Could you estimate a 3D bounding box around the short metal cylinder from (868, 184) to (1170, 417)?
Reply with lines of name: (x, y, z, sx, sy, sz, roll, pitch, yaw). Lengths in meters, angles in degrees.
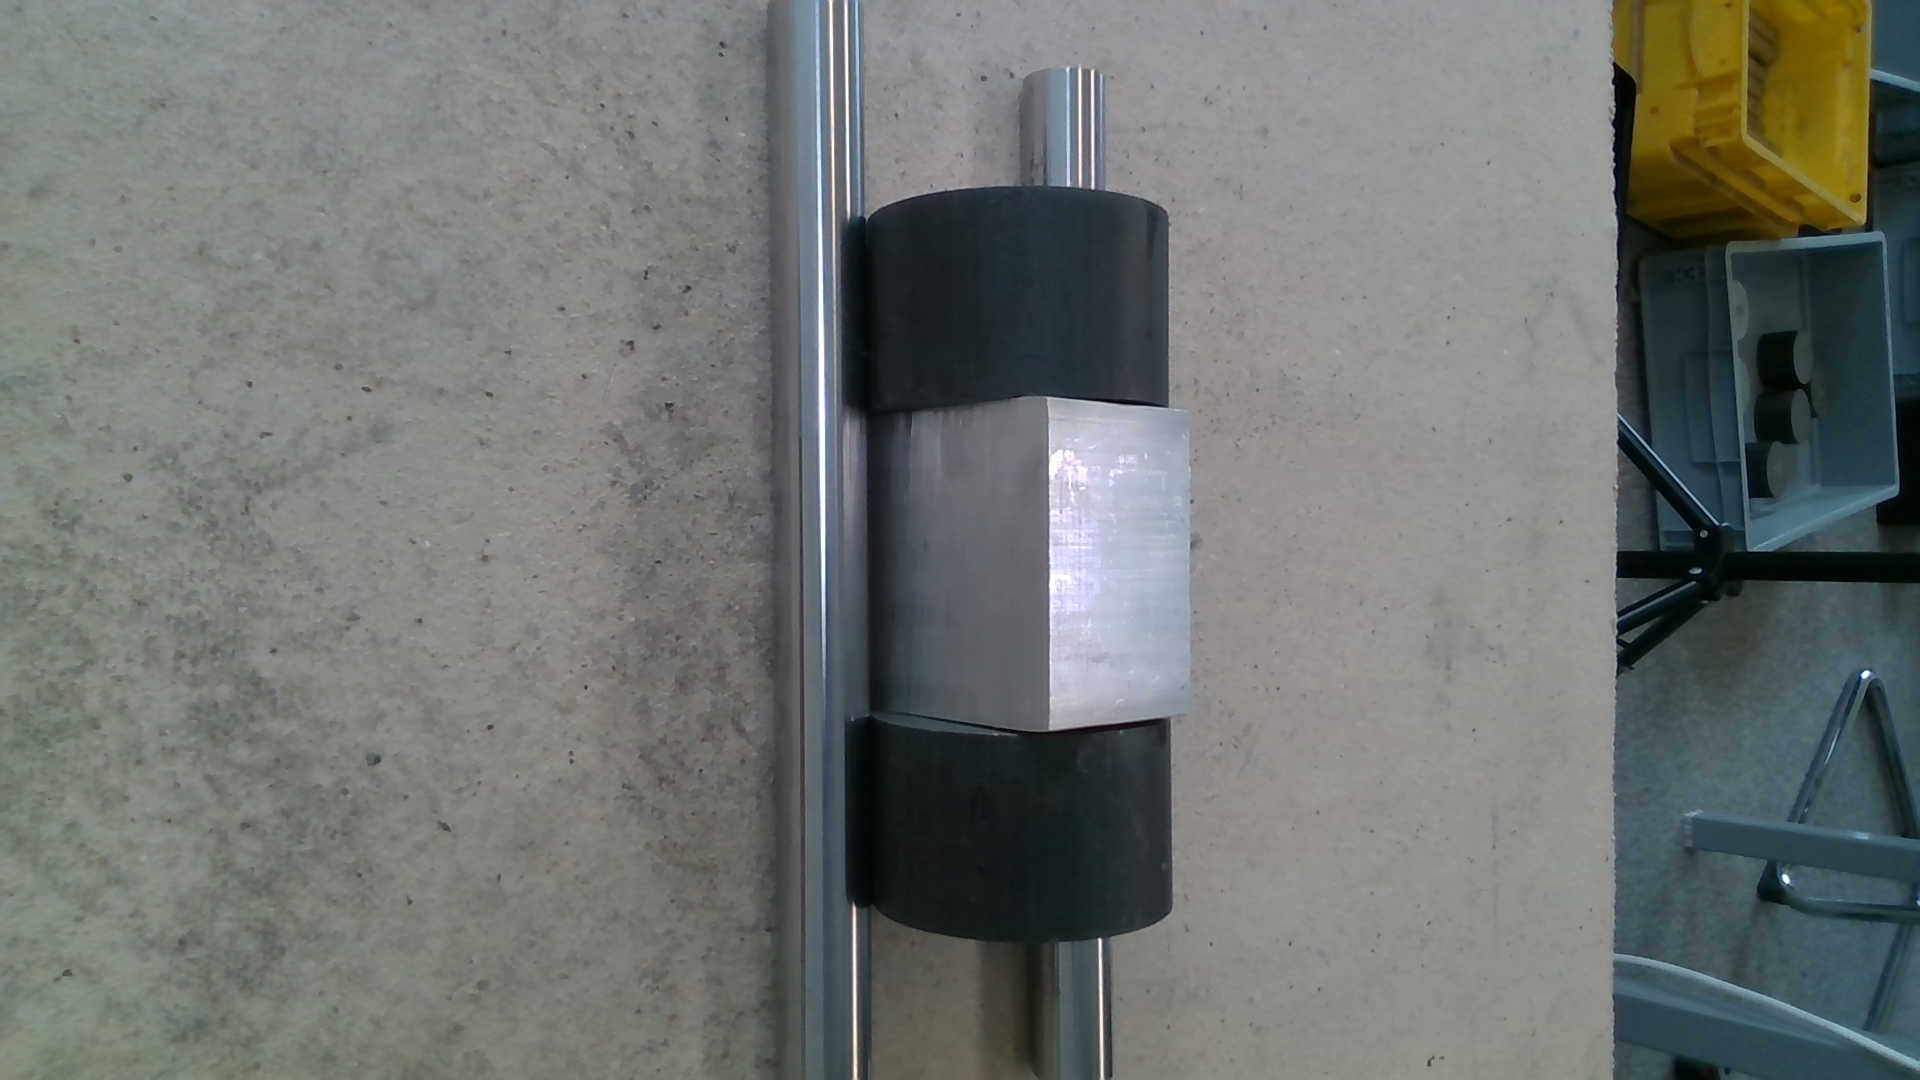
short metal cylinder: (0.015, -0.060, 0.368, 0.080, 0.080, 0.050, -1, 91, -40)

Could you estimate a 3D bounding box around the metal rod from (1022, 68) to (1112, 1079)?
metal rod: (0.033, 0.011, 0.419, 0.025, 0.025, 0.300, -1, 91, -40)

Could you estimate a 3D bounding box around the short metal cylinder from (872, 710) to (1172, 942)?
short metal cylinder: (0.016, 0.071, 0.369, 0.080, 0.080, 0.050, -1, 91, -40)

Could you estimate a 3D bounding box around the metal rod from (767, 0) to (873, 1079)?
metal rod: (-0.036, 0.011, 0.361, 0.025, 0.025, 0.300, -1, 91, -40)

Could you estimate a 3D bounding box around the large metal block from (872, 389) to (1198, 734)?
large metal block: (0.016, 0.005, 0.366, 0.050, 0.080, 0.080, 0, 90, -40)
